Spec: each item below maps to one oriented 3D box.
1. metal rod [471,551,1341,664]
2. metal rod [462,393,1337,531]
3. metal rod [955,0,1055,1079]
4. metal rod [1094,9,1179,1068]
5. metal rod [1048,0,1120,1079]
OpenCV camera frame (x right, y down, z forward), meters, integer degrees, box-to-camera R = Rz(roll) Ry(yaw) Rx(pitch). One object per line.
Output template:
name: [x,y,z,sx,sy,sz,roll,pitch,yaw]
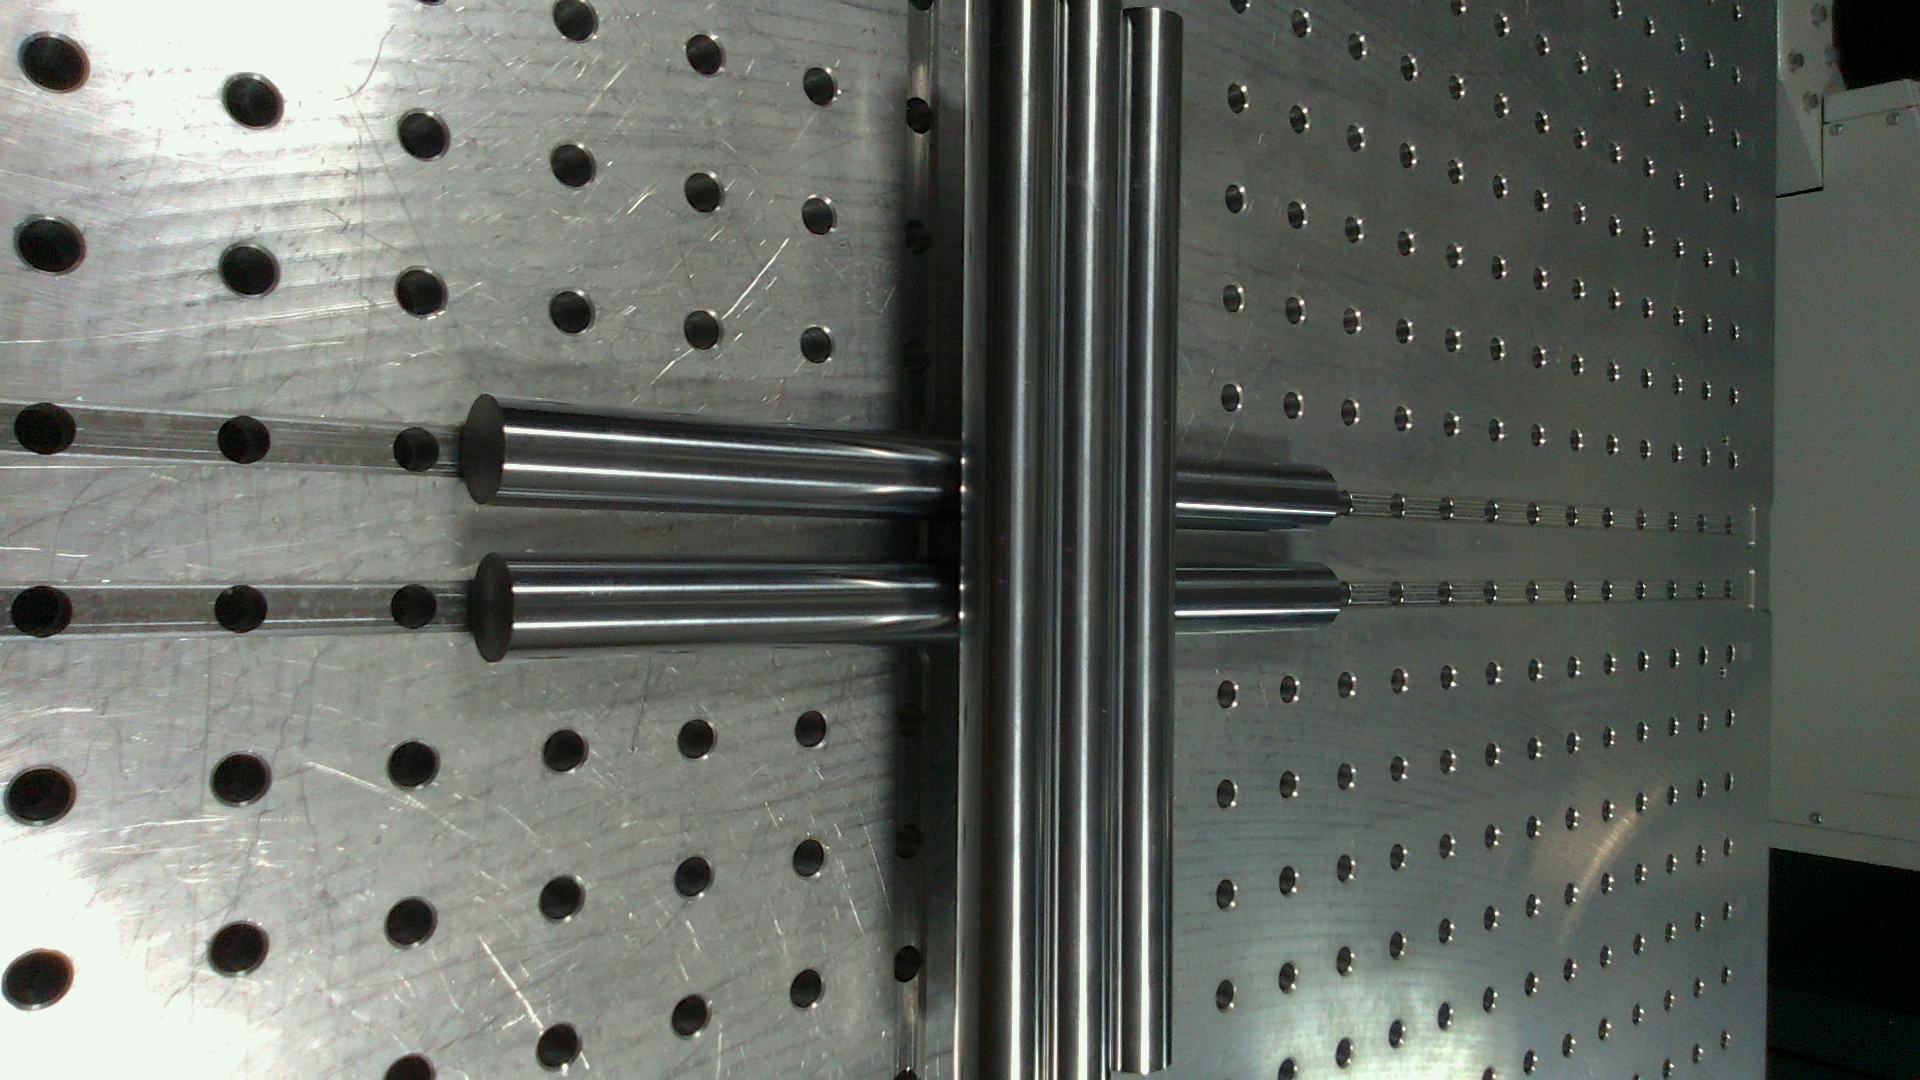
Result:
metal rod: [0.012,0.017,0.402,0.301,0.025,0.025,1,89,-40]
metal rod: [0.010,-0.018,0.401,0.301,0.025,0.025,1,89,-40]
metal rod: [0.012,0.001,0.370,0.025,0.025,0.300,1,90,-40]
metal rod: [0.051,-0.001,0.402,0.025,0.025,0.300,1,90,-40]
metal rod: [0.031,0.001,0.386,0.025,0.025,0.300,1,90,-40]
